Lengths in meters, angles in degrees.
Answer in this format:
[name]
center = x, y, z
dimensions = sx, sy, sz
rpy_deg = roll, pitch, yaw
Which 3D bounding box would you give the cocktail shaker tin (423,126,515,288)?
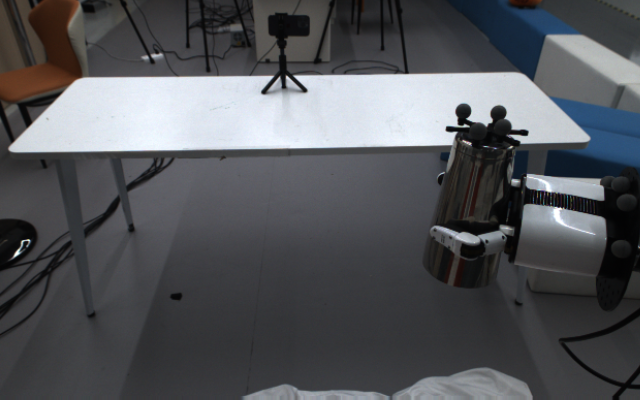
[cocktail shaker tin]
center = 0.181, 0.006, 0.571
dimensions = 0.093, 0.170, 0.093
rpy_deg = 2, 28, -1
